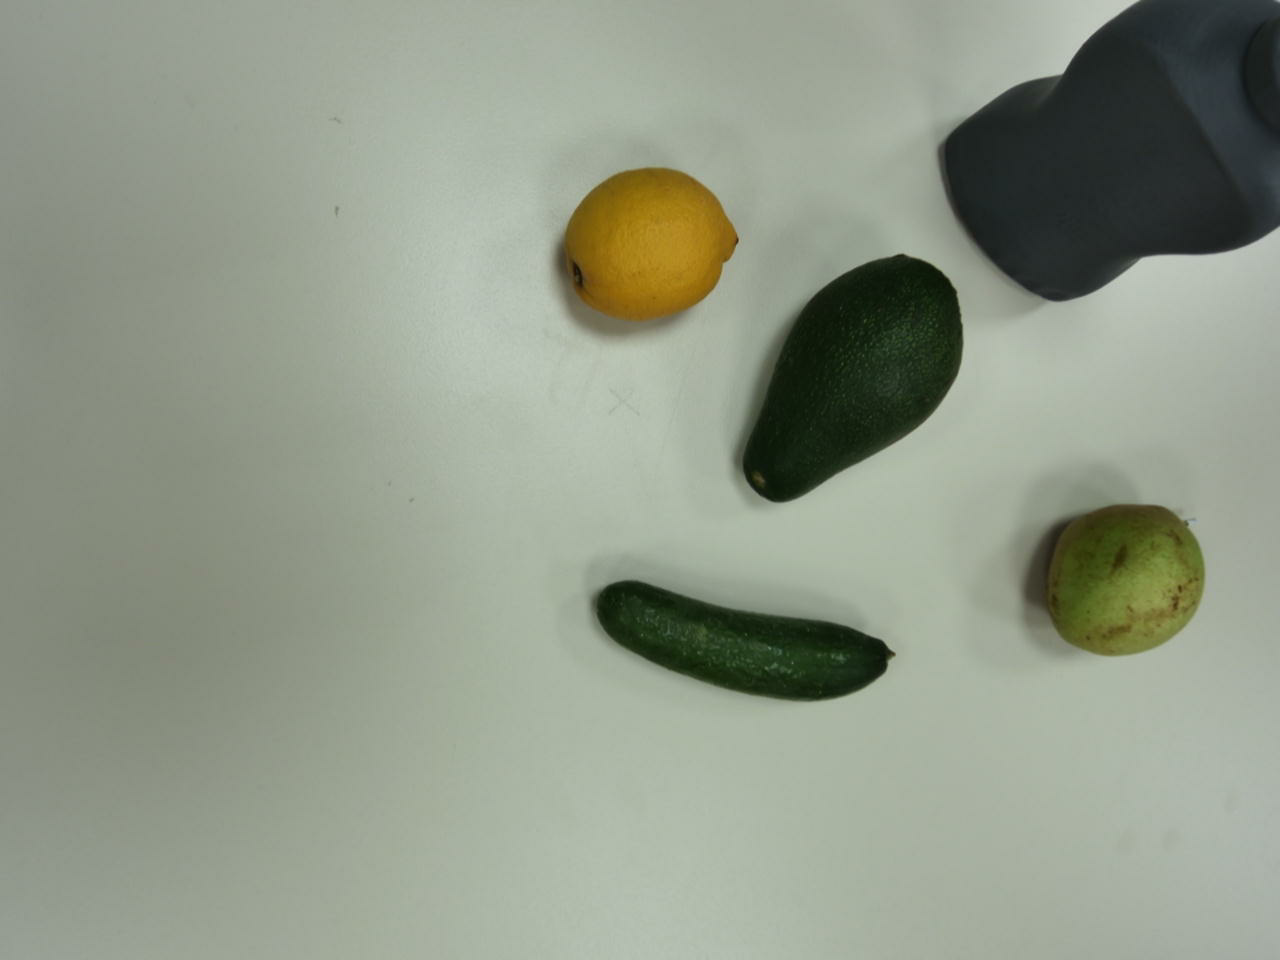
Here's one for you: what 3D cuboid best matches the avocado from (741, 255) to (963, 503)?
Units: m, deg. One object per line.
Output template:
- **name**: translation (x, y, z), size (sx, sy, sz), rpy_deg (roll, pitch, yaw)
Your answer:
- **avocado**: translation (0.087, -0.044, 0.422), size (0.109, 0.071, 0.072), rpy_deg (-33, 96, -9)
